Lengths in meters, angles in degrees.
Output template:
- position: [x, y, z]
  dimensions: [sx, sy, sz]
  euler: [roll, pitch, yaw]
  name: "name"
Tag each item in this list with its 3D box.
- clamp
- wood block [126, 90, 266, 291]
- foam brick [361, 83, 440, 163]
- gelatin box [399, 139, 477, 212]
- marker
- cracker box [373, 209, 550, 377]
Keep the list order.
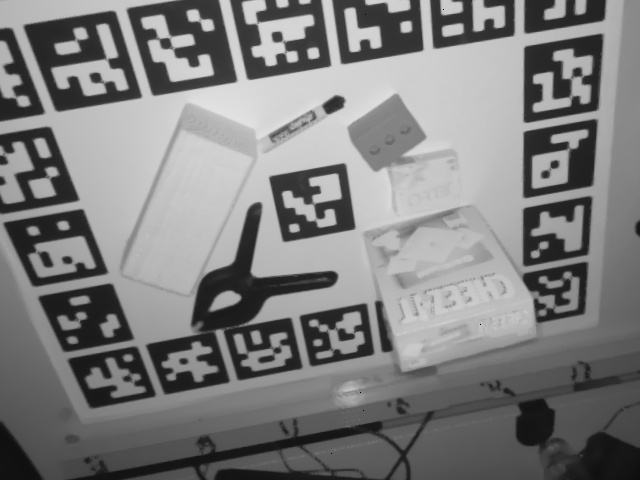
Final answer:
- position: [-0.085, 0.056, 0.905]
  dimensions: [0.201, 0.037, 0.166]
  euler: [-38, 115, 13]
  name: "clamp"
- position: [-0.145, -0.055, 0.813]
  dimensions: [0.090, 0.091, 0.204]
  euler: [21, 116, -19]
  name: "wood block"
- position: [0.096, -0.138, 0.817]
  dimensions: [0.077, 0.051, 0.053]
  euler: [-33, 115, 10]
  name: "foam brick"
- position: [0.148, -0.081, 0.868]
  dimensions: [0.089, 0.030, 0.073]
  euler: [-11, 117, -1]
  name: "gelatin box"
- position: [0.002, -0.155, 0.813]
  dimensions: [0.120, 0.020, 0.019]
  euler: [-28, 115, 8]
  name: "marker"
- position: [0.158, 0.055, 0.828]
  dimensions: [0.164, 0.215, 0.071]
  euler: [-13, 120, 3]
  name: "cracker box"
